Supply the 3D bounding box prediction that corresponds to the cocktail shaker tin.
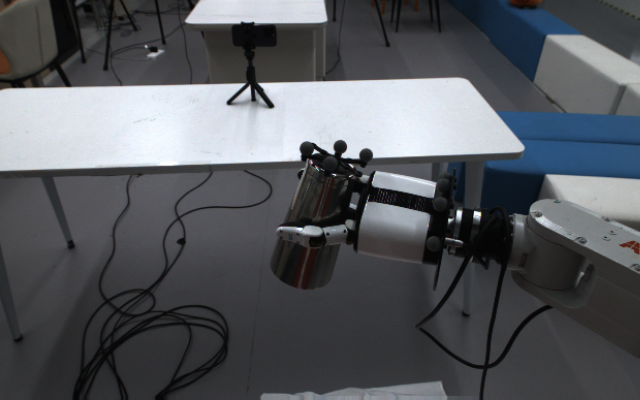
[{"bbox_3d":[-0.003,0.025,0.654,0.093,0.170,0.093,12,29,-7],"label":"cocktail shaker tin"}]
